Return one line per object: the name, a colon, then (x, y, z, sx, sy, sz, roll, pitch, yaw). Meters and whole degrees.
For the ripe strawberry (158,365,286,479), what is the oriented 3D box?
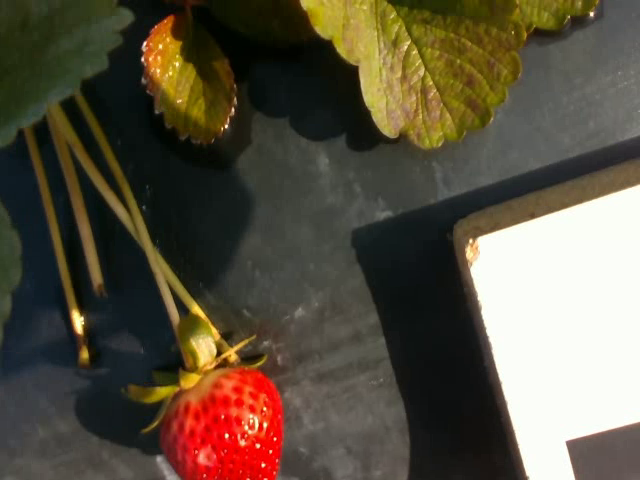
ripe strawberry: (-0.023, 0.055, 0.159, 0.040, 0.044, 0.036, -37, 2, 13)
